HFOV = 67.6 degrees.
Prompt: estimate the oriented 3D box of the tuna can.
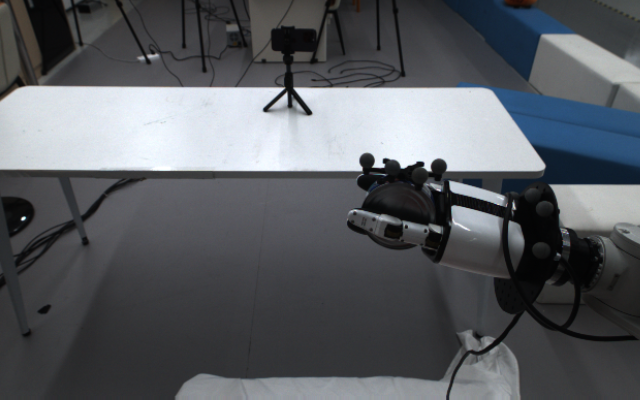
[{"bbox_3d":[0.093,0.011,0.568,0.085,0.085,0.034,9,24,10],"label":"tuna can"}]
